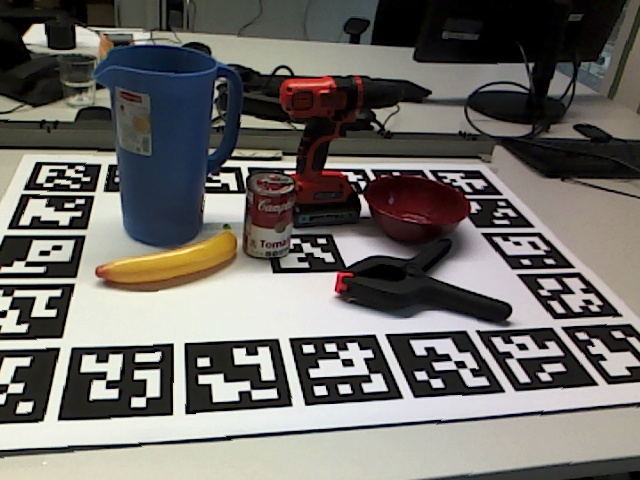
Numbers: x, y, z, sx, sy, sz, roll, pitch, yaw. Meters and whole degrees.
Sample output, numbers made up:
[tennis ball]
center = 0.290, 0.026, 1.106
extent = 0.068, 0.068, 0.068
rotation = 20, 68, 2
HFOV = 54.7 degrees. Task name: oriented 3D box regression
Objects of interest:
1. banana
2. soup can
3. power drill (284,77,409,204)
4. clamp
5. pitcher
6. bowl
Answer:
[banana]
center = -0.182, 0.017, 0.783
extent = 0.196, 0.039, 0.075
rotation = -16, 30, -35
[soup can]
center = -0.069, -0.040, 0.835
extent = 0.068, 0.102, 0.068
rotation = 3, 23, -2
[power drill]
center = 0.032, -0.147, 0.910
extent = 0.184, 0.186, 0.058
rotation = -3, 33, -18
[clamp]
center = 0.116, 0.040, 0.787
extent = 0.202, 0.036, 0.166
rotation = -3, 37, -15
[pitcher]
center = -0.192, -0.131, 0.823
extent = 0.188, 0.242, 0.134
rotation = -16, 35, -33
[bowl]
center = 0.141, -0.048, 0.930
extent = 0.161, 0.055, 0.162
rotation = 5, 33, -3
